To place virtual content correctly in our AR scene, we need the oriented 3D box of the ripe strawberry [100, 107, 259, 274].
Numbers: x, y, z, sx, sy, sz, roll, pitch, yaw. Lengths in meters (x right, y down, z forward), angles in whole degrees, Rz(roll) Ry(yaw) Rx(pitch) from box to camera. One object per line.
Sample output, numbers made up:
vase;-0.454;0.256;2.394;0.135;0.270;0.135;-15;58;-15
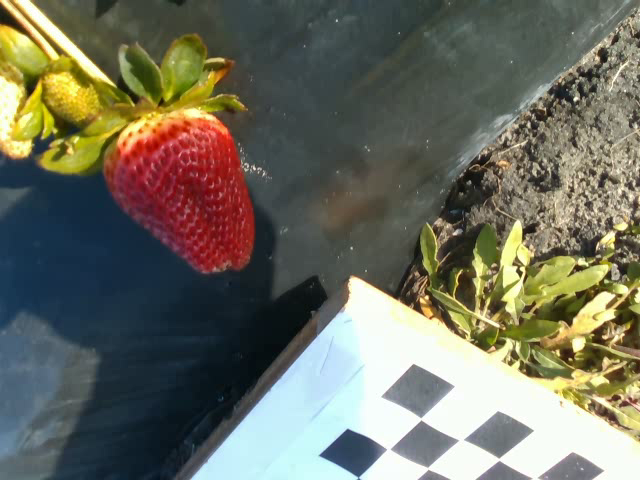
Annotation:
ripe strawberry;-0.037;-0.012;0.173;0.042;0.059;0.042;-31;13;14
